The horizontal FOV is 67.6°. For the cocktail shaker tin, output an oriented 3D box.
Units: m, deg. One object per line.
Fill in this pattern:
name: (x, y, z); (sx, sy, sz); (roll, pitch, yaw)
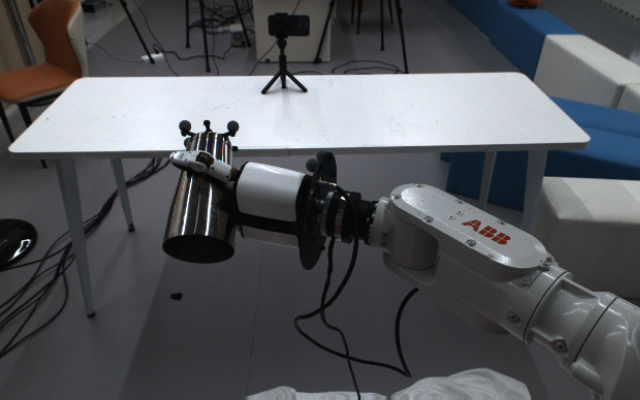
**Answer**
cocktail shaker tin: (-0.161, -0.008, 0.667); (0.093, 0.093, 0.170); (0, 59, -3)
